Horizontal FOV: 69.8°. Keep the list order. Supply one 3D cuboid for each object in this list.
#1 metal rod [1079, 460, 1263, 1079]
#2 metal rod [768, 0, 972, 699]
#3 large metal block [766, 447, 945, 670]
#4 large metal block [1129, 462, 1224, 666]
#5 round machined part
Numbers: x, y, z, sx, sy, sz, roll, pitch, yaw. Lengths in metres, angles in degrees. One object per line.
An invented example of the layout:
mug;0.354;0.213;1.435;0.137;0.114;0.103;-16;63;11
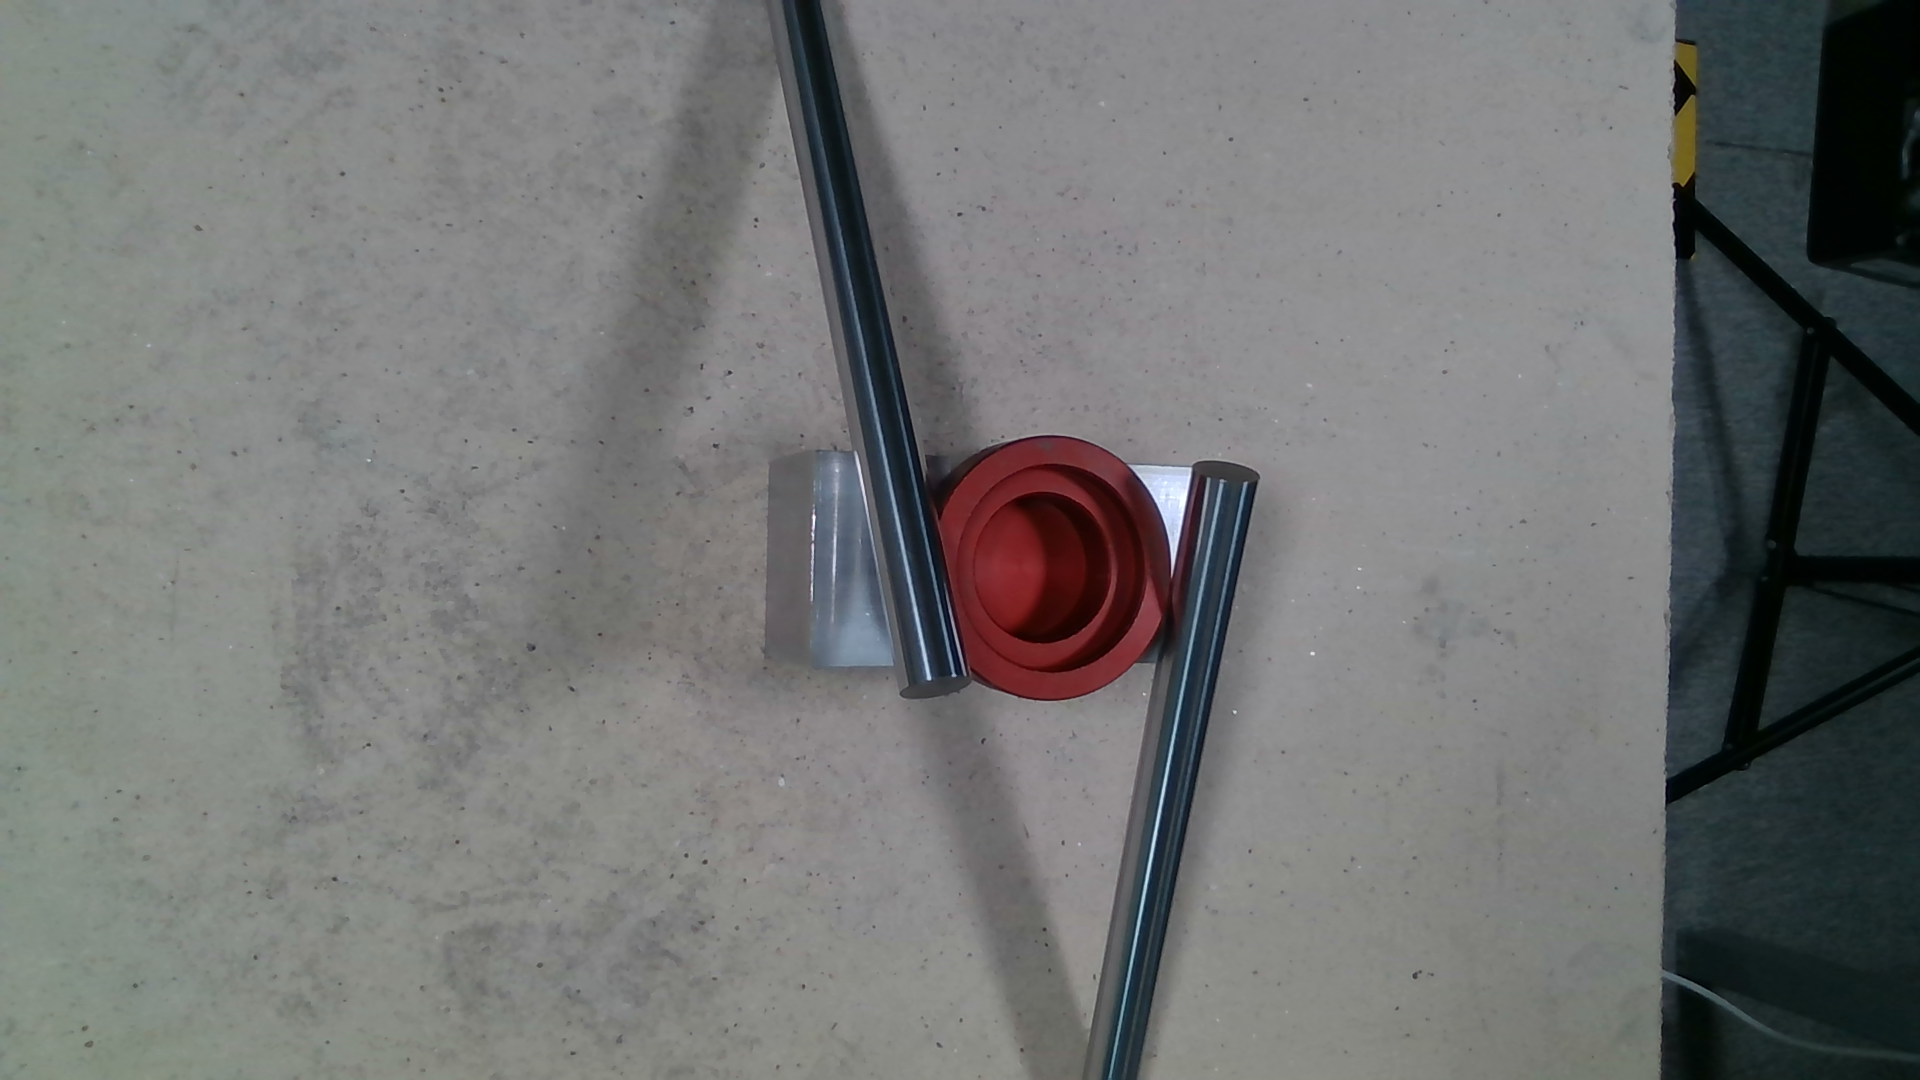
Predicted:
metal rod;0.081;0.114;0.559;0.025;0.025;0.301;-1;112;-20
metal rod;-0.038;-0.088;0.513;0.025;0.025;0.299;-4;69;-20
large metal block;-0.044;0.007;0.541;0.050;0.080;0.080;1;90;-20
large metal block;0.070;0.010;0.582;0.050;0.080;0.080;1;90;-20
round machined part;0.028;0.010;0.525;0.098;0.042;0.098;0;90;-20
